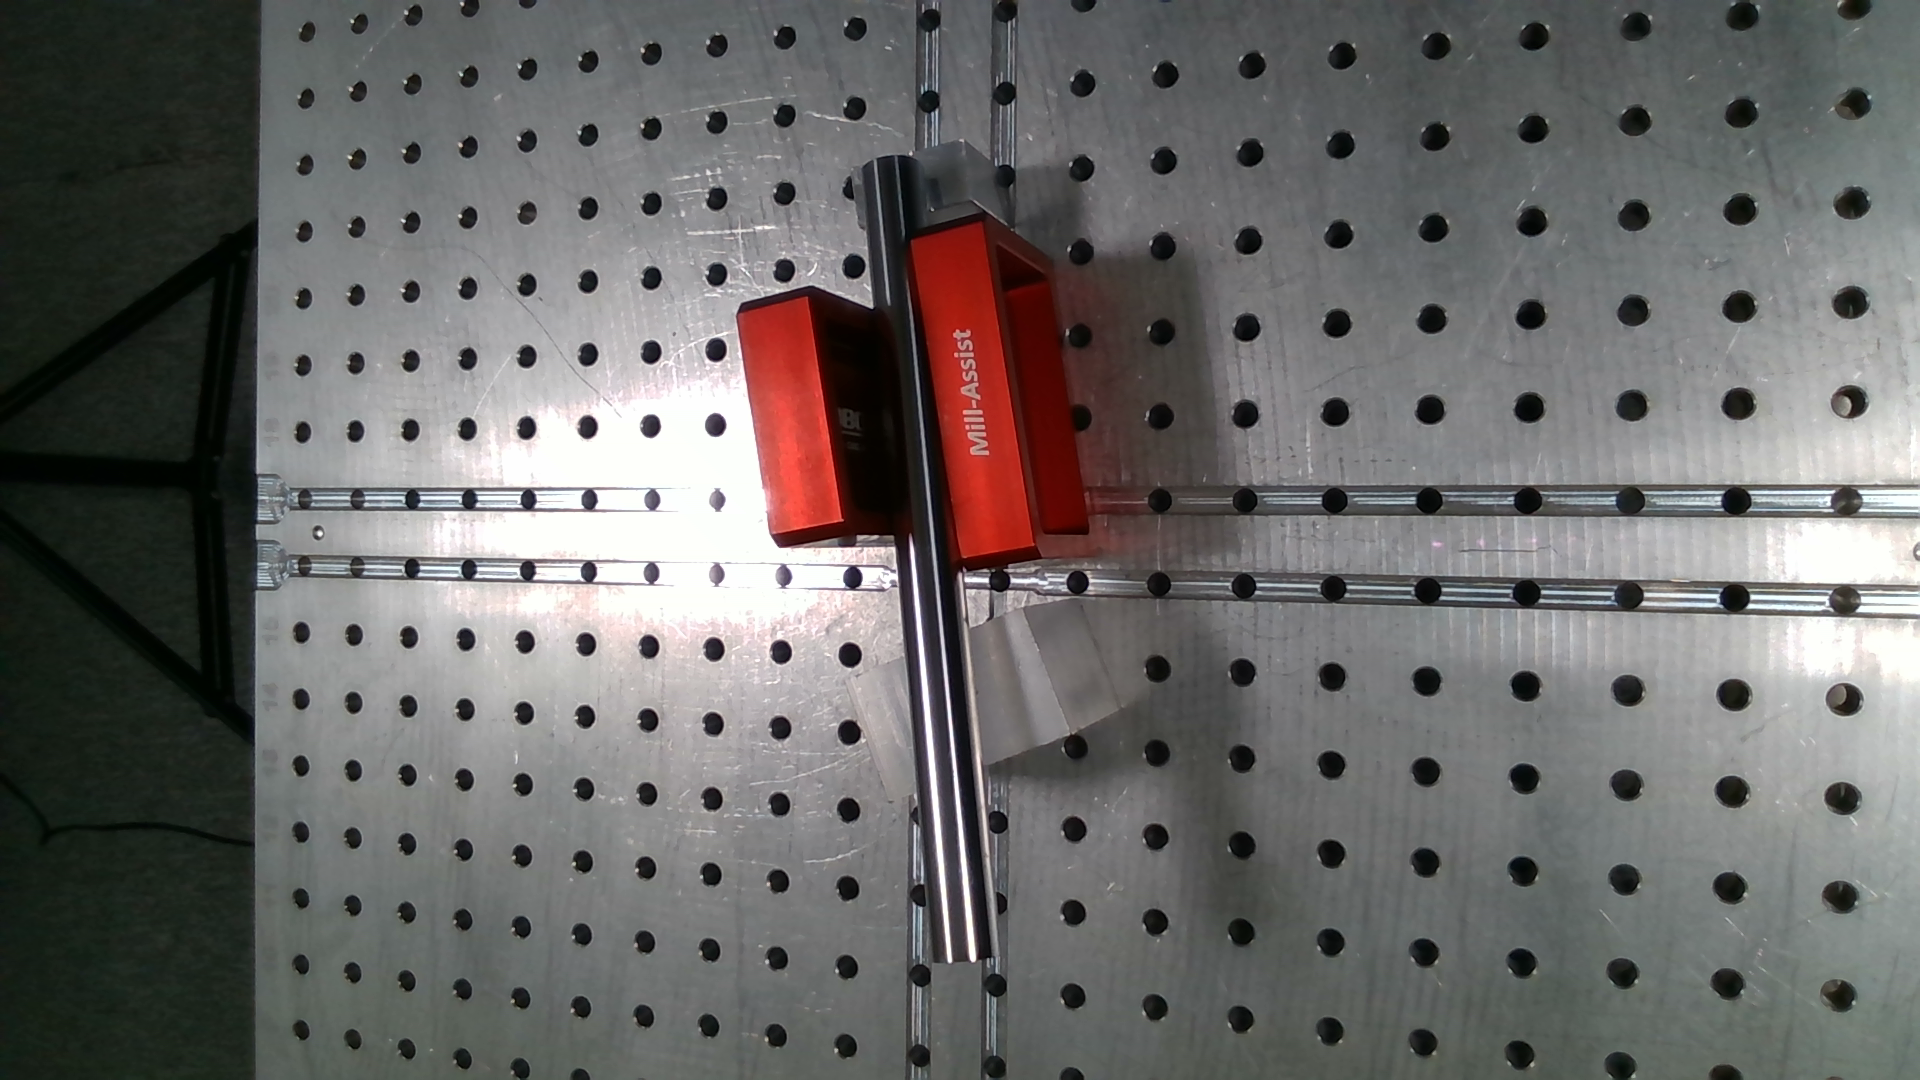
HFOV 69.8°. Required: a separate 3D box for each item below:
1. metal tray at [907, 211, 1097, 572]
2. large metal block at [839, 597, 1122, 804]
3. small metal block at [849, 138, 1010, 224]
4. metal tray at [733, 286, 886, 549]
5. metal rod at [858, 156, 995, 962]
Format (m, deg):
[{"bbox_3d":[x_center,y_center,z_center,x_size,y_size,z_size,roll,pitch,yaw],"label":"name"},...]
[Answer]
[{"bbox_3d":[0.019,-0.055,0.545,0.030,0.090,0.130,-10,87,21],"label":"metal tray"},{"bbox_3d":[0.011,0.062,0.554,0.080,0.080,0.050,-24,82,19],"label":"large metal block"},{"bbox_3d":[-0.012,-0.144,0.577,0.050,0.050,0.025,-9,87,20],"label":"small metal block"},{"bbox_3d":[-0.038,-0.044,0.546,0.030,0.130,0.090,-10,87,20],"label":"metal tray"},{"bbox_3d":[-0.014,0.001,0.513,0.025,0.025,0.299,-10,78,20],"label":"metal rod"}]
